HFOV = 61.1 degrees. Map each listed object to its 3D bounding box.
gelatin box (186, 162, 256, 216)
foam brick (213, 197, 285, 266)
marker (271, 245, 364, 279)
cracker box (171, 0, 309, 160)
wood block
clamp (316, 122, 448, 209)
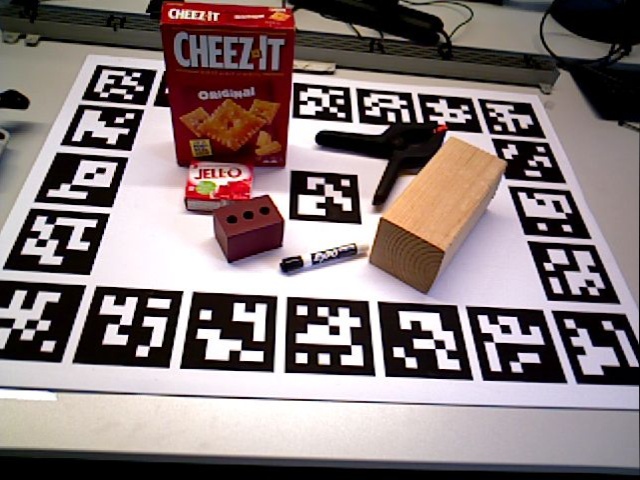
[{"bbox_3d":[-0.132,-0.069,0.737,0.089,0.031,0.072,3,53,-5],"label":"gelatin box"},{"bbox_3d":[-0.090,-0.011,0.679,0.077,0.052,0.052,-17,57,-19],"label":"foam brick"},{"bbox_3d":[-0.003,0.028,0.678,0.119,0.020,0.019,-12,56,-16],"label":"marker"},{"bbox_3d":[-0.108,-0.208,0.721,0.163,0.219,0.071,2,50,-8],"label":"cracker box"},{"bbox_3d":[0.161,-0.032,0.706,0.090,0.093,0.201,30,52,19],"label":"wood block"},{"bbox_3d":[0.119,-0.135,0.813,0.199,0.037,0.164,-22,58,-22],"label":"clamp"}]
